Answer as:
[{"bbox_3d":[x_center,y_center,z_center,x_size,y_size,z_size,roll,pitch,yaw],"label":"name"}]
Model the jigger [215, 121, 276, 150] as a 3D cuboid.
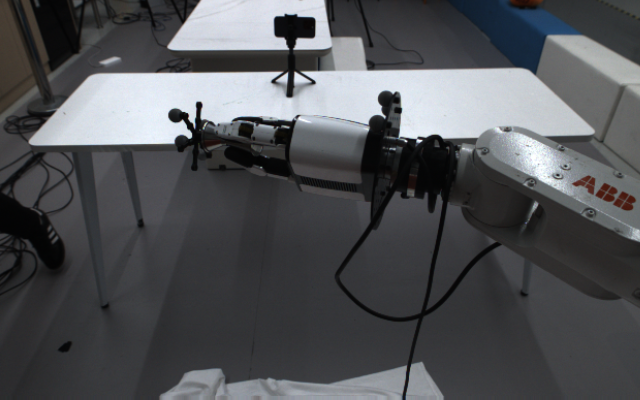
[{"bbox_3d":[-0.105,-0.084,0.614,0.071,0.043,0.043,3,34,15],"label":"jigger"}]
